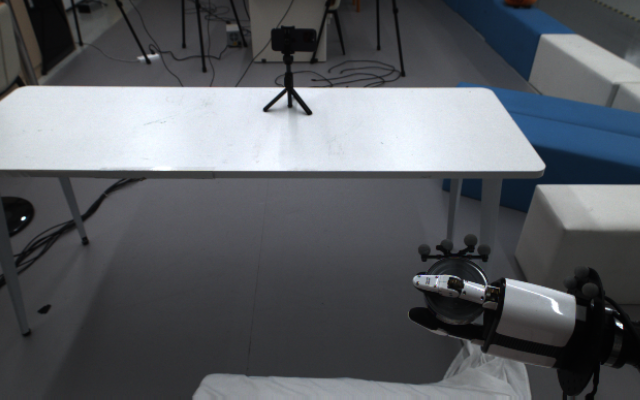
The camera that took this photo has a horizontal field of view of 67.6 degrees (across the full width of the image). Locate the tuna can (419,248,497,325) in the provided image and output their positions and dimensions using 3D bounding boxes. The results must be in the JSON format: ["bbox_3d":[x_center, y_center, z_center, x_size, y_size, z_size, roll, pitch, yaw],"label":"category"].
[{"bbox_3d":[0.181,0.119,0.642,0.085,0.034,0.085,-6,59,11],"label":"tuna can"}]
